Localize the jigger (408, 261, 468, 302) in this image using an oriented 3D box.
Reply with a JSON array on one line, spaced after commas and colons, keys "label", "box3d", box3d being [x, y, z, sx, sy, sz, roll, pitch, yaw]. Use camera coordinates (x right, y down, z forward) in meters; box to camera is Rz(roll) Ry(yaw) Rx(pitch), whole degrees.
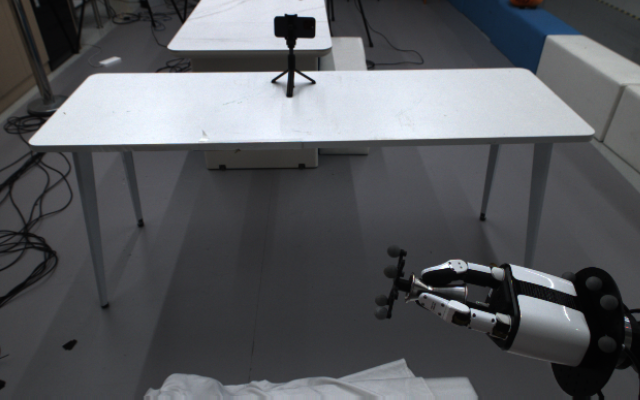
[{"label": "jigger", "box3d": [0.151, 0.115, 0.608, 0.071, 0.043, 0.043, 14, 36, 5]}]
